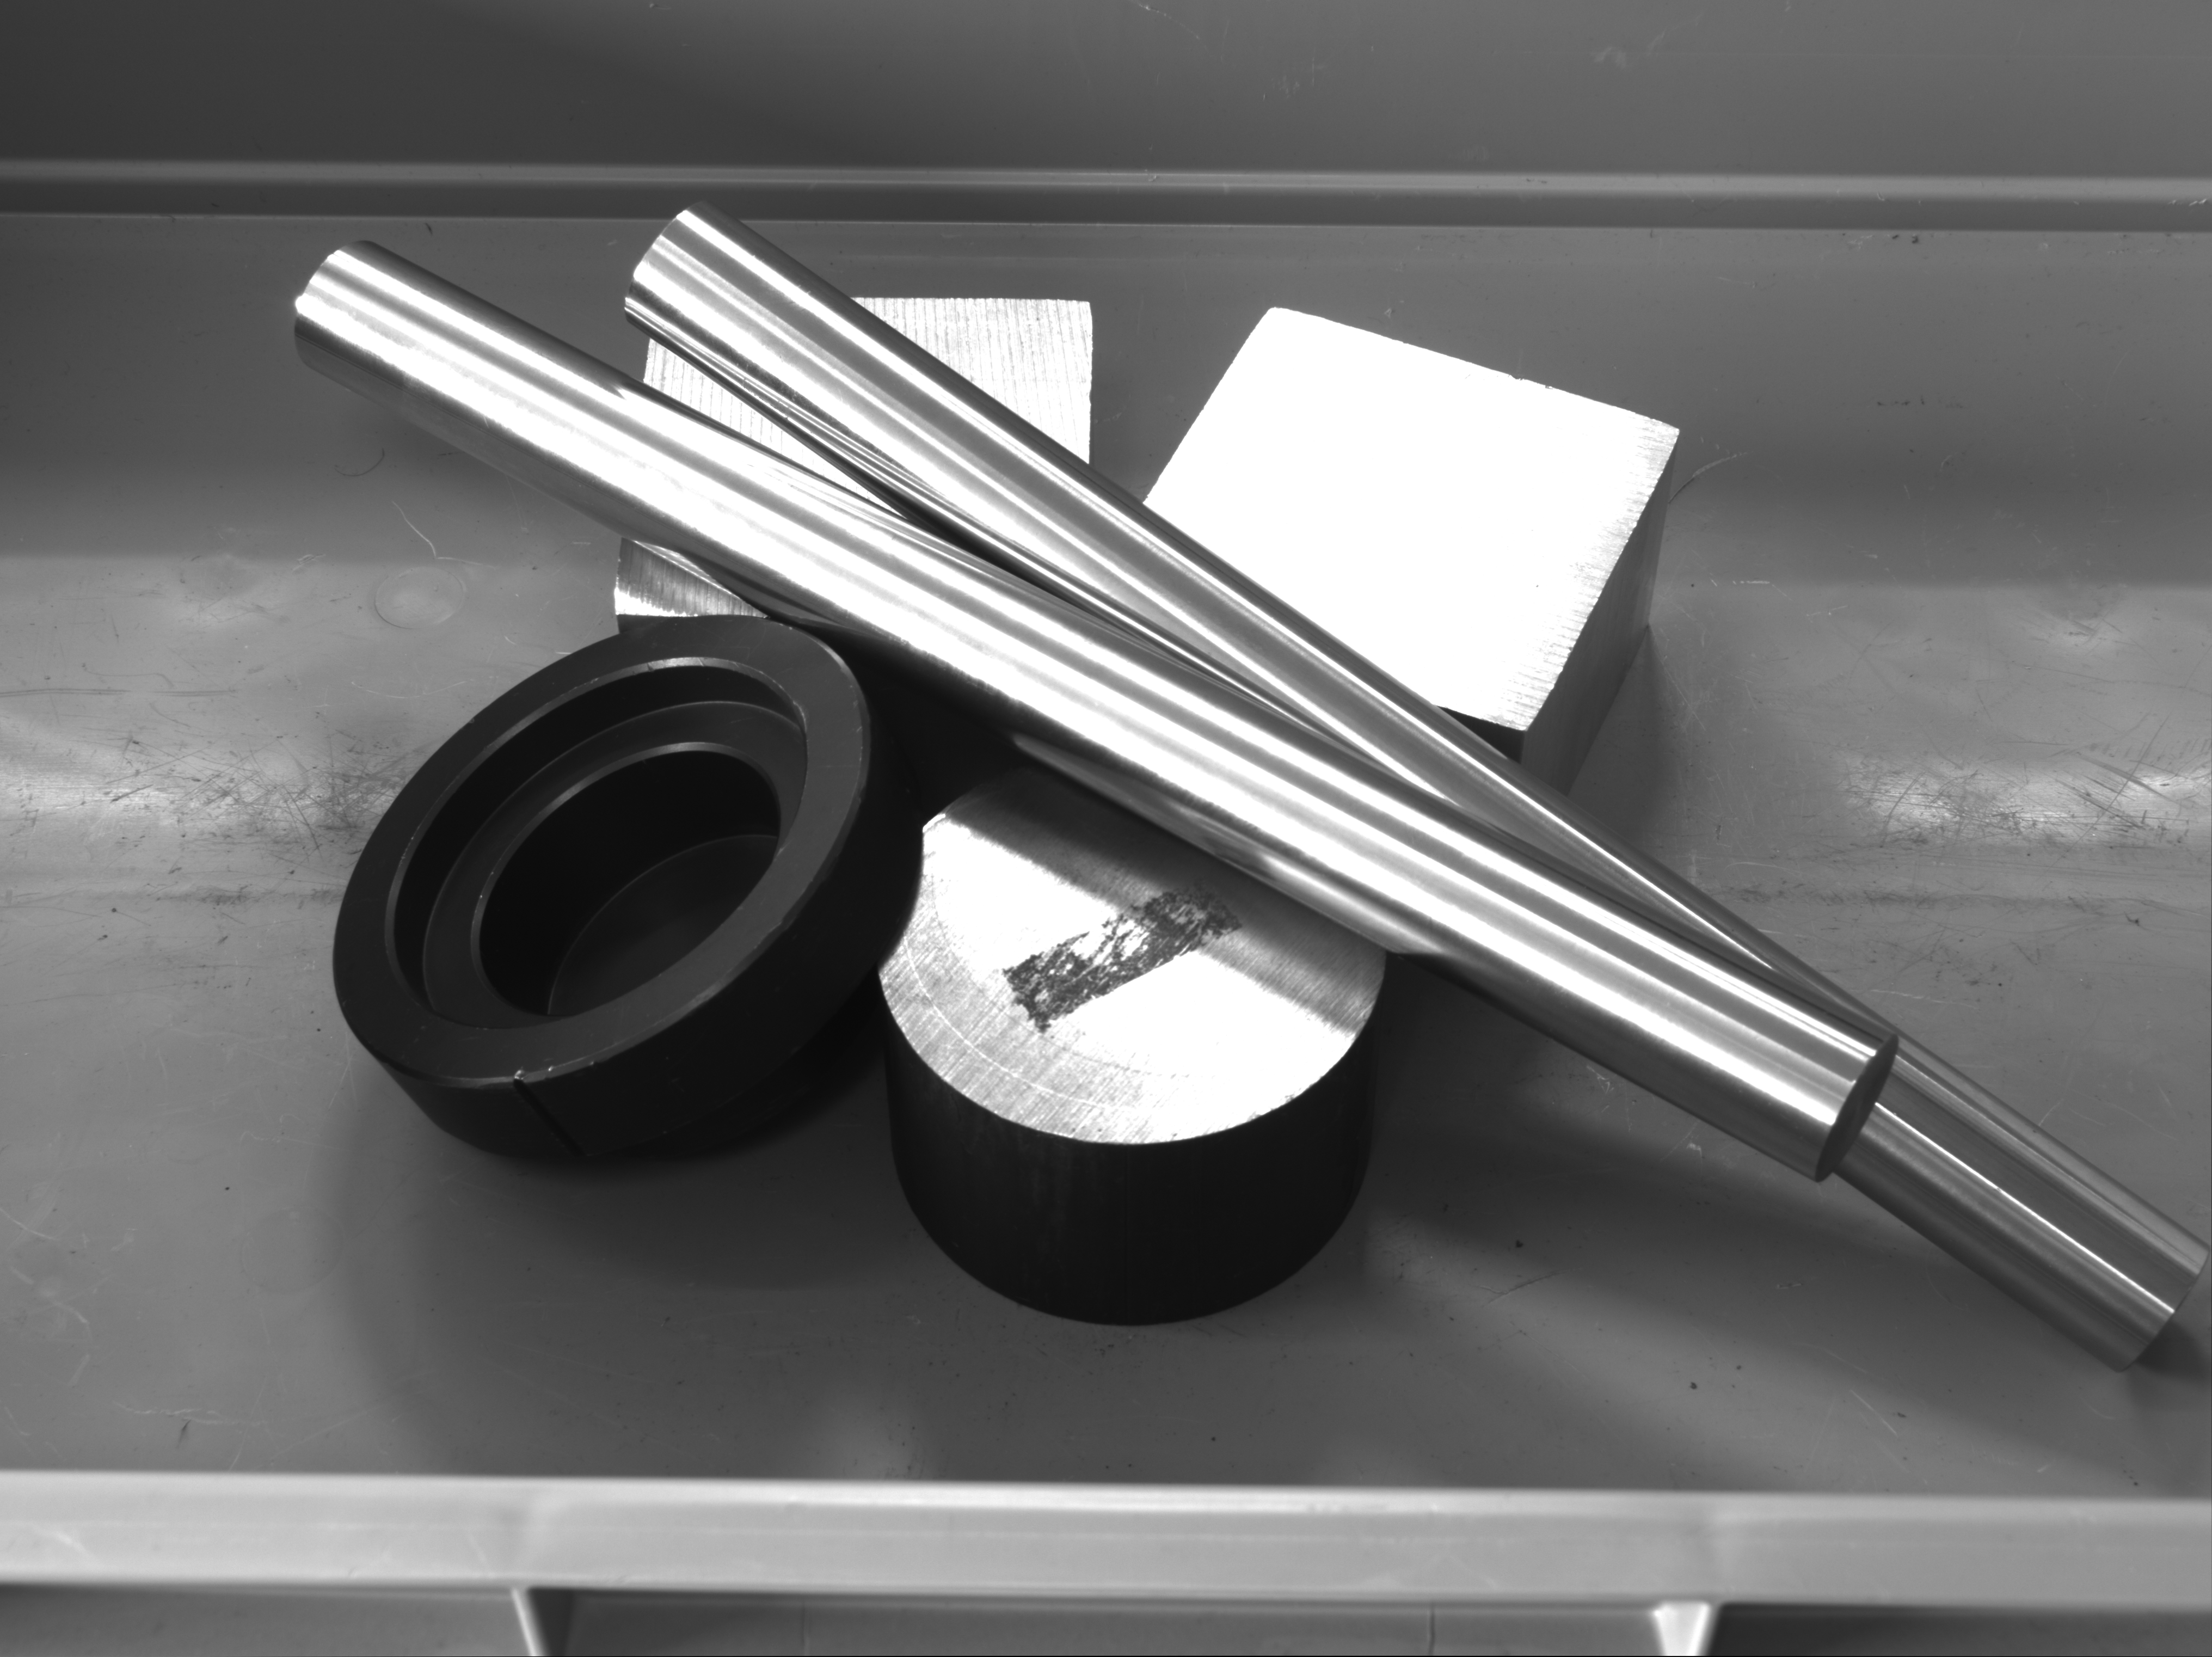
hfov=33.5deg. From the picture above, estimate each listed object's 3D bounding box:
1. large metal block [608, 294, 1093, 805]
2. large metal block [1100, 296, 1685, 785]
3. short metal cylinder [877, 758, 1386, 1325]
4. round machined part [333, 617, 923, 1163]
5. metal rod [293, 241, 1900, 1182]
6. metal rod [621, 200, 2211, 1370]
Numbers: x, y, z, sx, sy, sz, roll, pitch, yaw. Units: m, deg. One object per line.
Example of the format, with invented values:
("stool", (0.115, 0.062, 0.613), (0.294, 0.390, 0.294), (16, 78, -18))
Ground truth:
("large metal block", (-0.043, -0.051, 0.663), (0.080, 0.050, 0.080), (1, 50, 1))
("large metal block", (0.050, -0.041, 0.658), (0.080, 0.050, 0.080), (19, 53, 16))
("short metal cylinder", (0.004, 0.033, 0.596), (0.080, 0.050, 0.080), (0, 50, 0))
("round machined part", (-0.074, 0.015, 0.603), (0.098, 0.042, 0.098), (-17, 44, 17))
("metal rod", (-0.012, -0.025, 0.595), (0.299, 0.025, 0.025), (28, 56, 21))
("metal rod", (0.046, -0.011, 0.601), (0.300, 0.025, 0.025), (35, 57, 9))
